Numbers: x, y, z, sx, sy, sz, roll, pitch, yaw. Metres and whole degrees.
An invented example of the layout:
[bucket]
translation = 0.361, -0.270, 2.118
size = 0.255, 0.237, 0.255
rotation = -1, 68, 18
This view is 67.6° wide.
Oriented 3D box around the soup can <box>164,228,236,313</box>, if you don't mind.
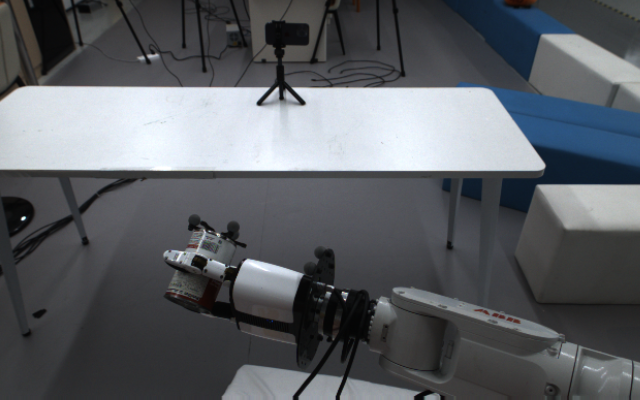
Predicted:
[soup can]
translation = -0.165, 0.101, 0.678
size = 0.067, 0.067, 0.101
rotation = 12, 66, 14
